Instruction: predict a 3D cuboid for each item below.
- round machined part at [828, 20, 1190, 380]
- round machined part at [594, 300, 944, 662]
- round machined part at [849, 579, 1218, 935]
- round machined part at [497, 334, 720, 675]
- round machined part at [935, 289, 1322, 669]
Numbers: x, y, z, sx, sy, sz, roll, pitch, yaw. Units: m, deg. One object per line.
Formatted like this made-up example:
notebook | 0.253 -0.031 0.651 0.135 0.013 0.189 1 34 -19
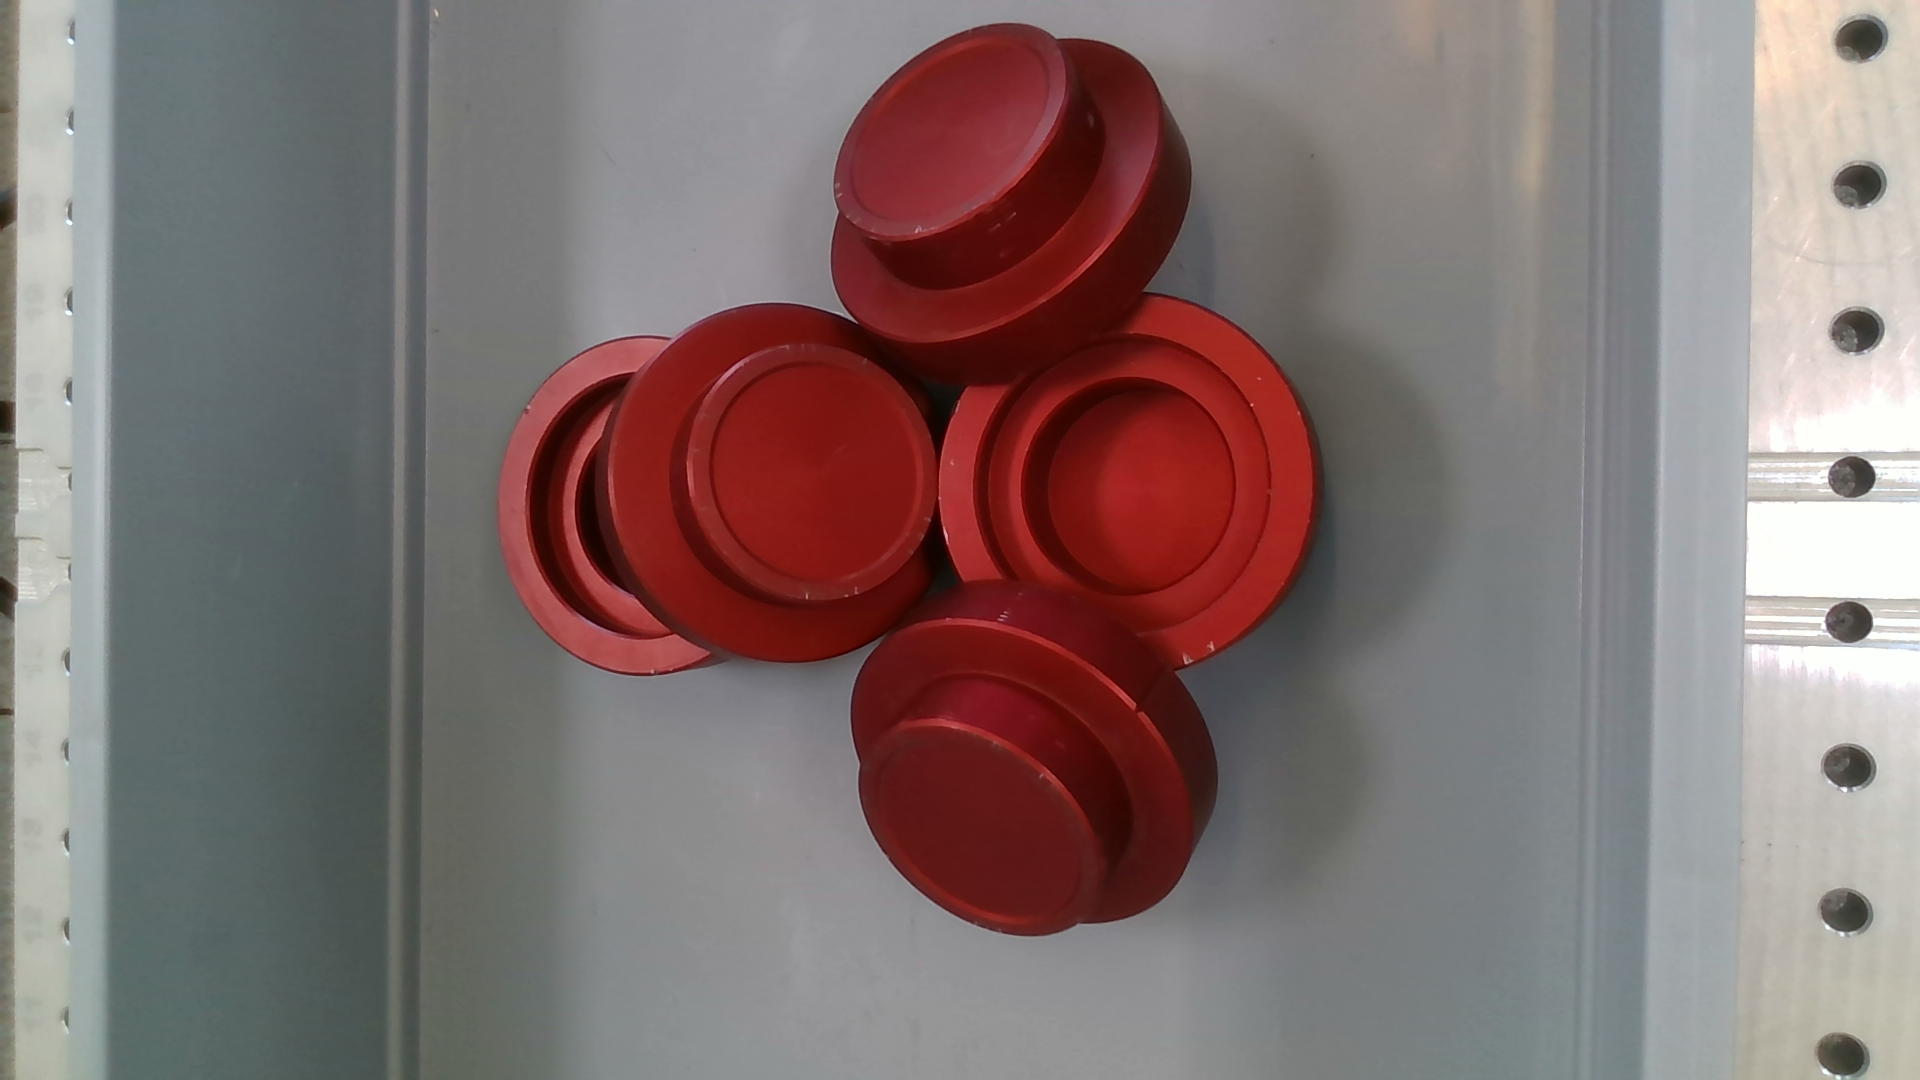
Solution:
round machined part | 0.006 -0.094 0.358 0.098 0.042 0.098 -16 55 24
round machined part | -0.045 -0.016 0.370 0.042 0.098 0.098 -10 86 64
round machined part | 0.013 0.062 0.355 0.098 0.042 0.098 16 128 22
round machined part | -0.086 -0.010 0.415 0.098 0.042 0.098 0 90 20
round machined part | 0.046 -0.014 0.365 0.098 0.042 0.098 0 90 20
